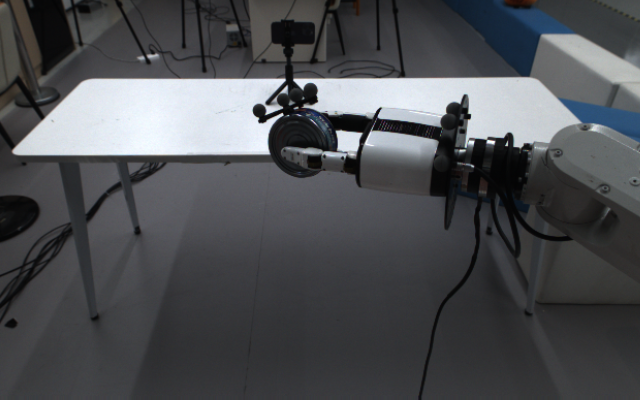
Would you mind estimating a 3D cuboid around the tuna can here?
[{"bbox_3d":[-0.019,-0.067,0.620,0.085,0.085,0.034,15,29,17],"label":"tuna can"}]
